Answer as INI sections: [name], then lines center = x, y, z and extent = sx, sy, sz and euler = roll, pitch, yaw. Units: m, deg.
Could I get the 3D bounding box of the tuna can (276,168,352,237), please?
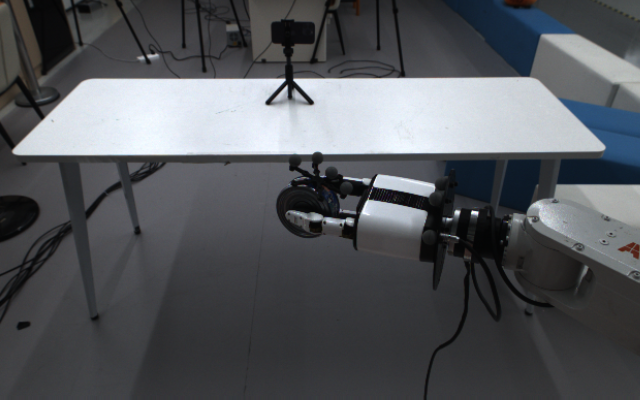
[tuna can]
center = -0.016, 0.010, 0.681
extent = 0.085, 0.085, 0.034
euler = 15, 31, 18
